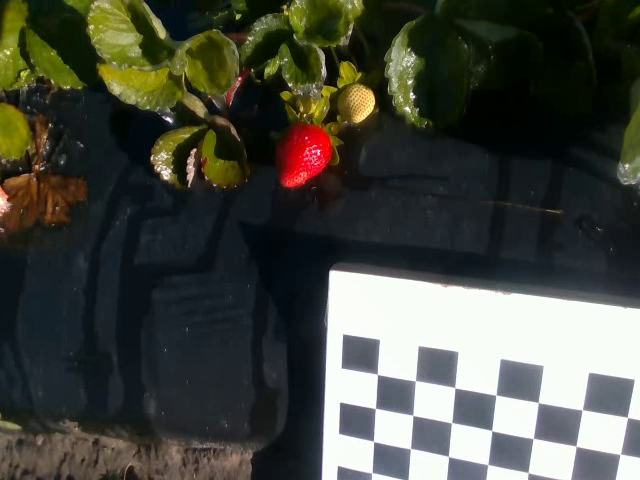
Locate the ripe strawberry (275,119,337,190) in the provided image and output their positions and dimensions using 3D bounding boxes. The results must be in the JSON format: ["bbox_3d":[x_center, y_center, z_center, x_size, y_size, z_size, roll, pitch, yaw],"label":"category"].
[{"bbox_3d":[-0.009,-0.038,0.315,0.039,0.040,0.039,0,40,28],"label":"ripe strawberry"}]
